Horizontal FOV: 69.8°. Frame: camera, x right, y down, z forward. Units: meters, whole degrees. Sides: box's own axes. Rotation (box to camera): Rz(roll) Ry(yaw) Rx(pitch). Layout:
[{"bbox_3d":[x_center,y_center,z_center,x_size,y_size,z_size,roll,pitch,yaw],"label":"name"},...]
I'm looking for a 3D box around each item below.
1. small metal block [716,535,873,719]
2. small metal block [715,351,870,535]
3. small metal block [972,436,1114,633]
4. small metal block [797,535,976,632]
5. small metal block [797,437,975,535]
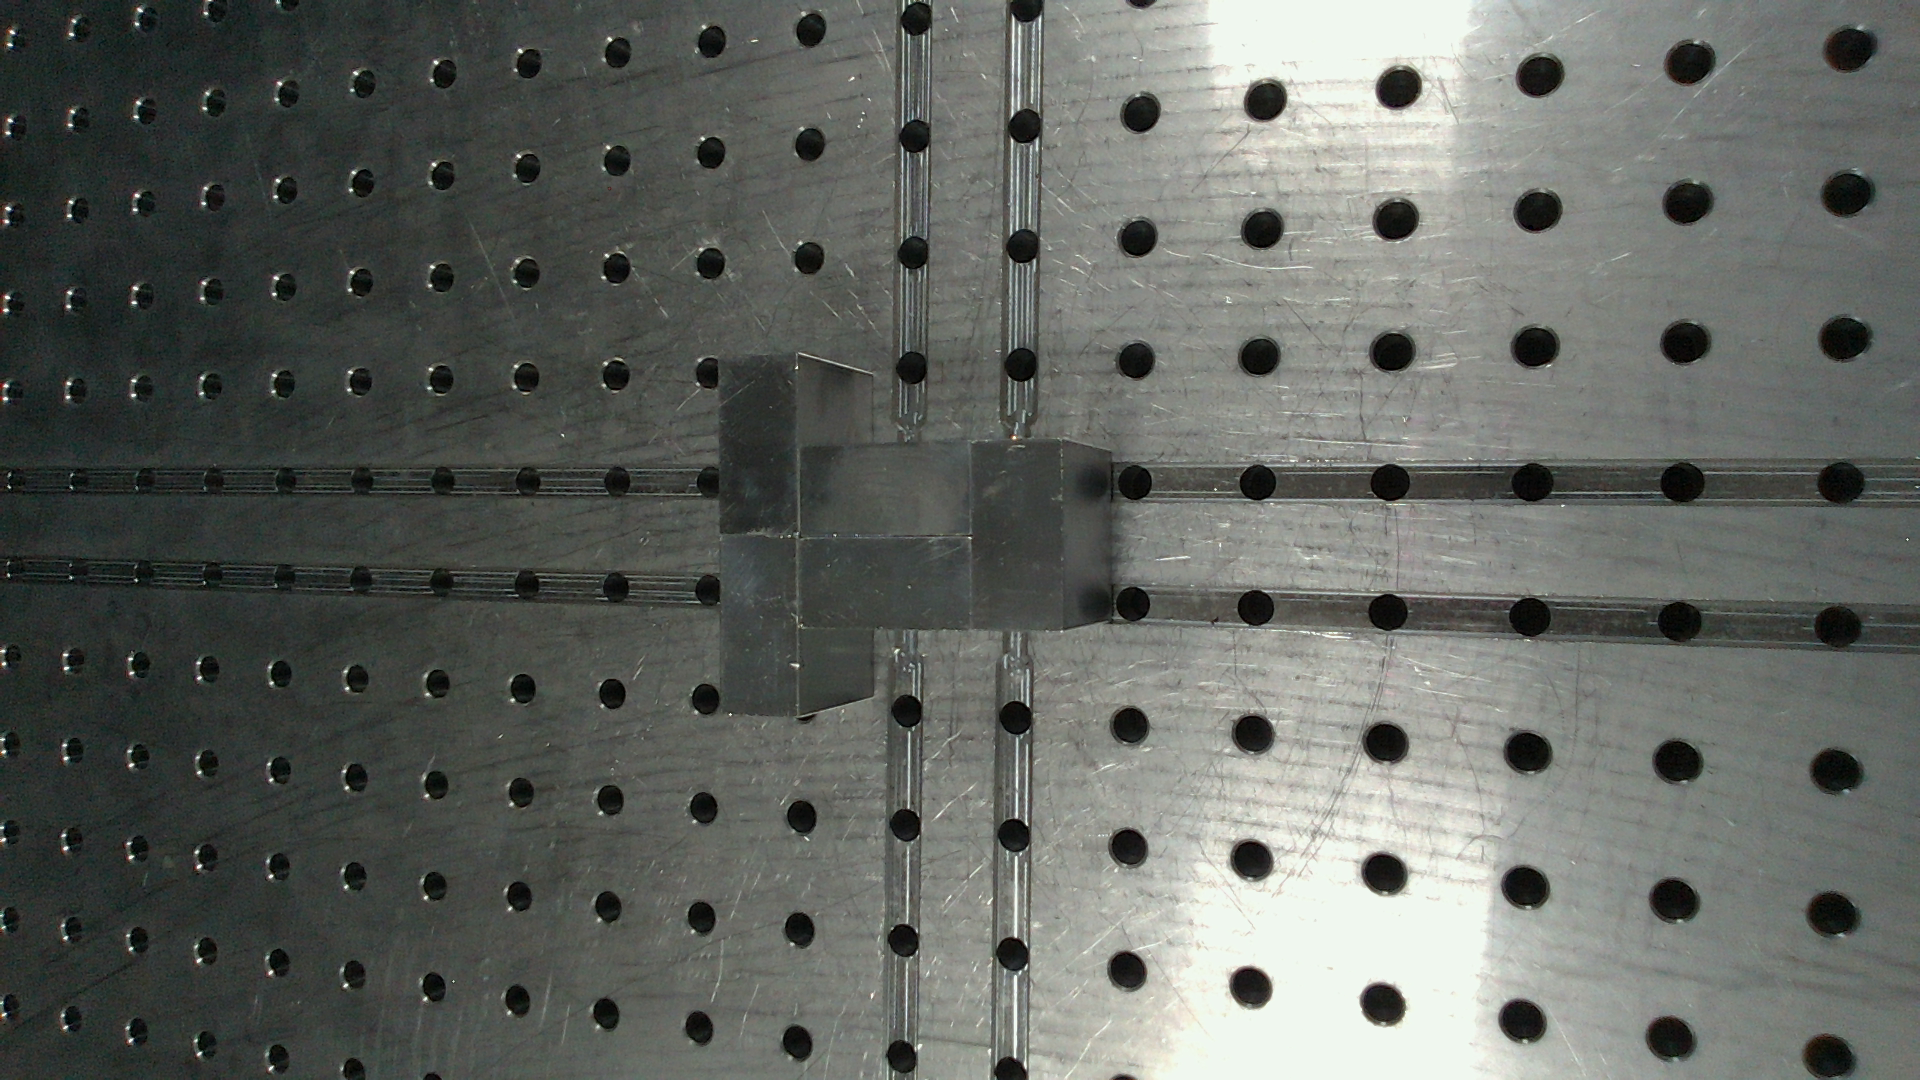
[{"bbox_3d":[-0.047,0.024,0.401,0.025,0.050,0.050,0,90,20],"label":"small metal block"},{"bbox_3d":[-0.047,-0.026,0.401,0.025,0.050,0.050,0,90,20],"label":"small metal block"},{"bbox_3d":[0.024,-0.001,0.376,0.025,0.050,0.050,0,90,20],"label":"small metal block"},{"bbox_3d":[-0.012,0.011,0.389,0.050,0.050,0.025,0,90,20],"label":"small metal block"},{"bbox_3d":[-0.012,-0.014,0.389,0.050,0.050,0.025,0,90,20],"label":"small metal block"}]
